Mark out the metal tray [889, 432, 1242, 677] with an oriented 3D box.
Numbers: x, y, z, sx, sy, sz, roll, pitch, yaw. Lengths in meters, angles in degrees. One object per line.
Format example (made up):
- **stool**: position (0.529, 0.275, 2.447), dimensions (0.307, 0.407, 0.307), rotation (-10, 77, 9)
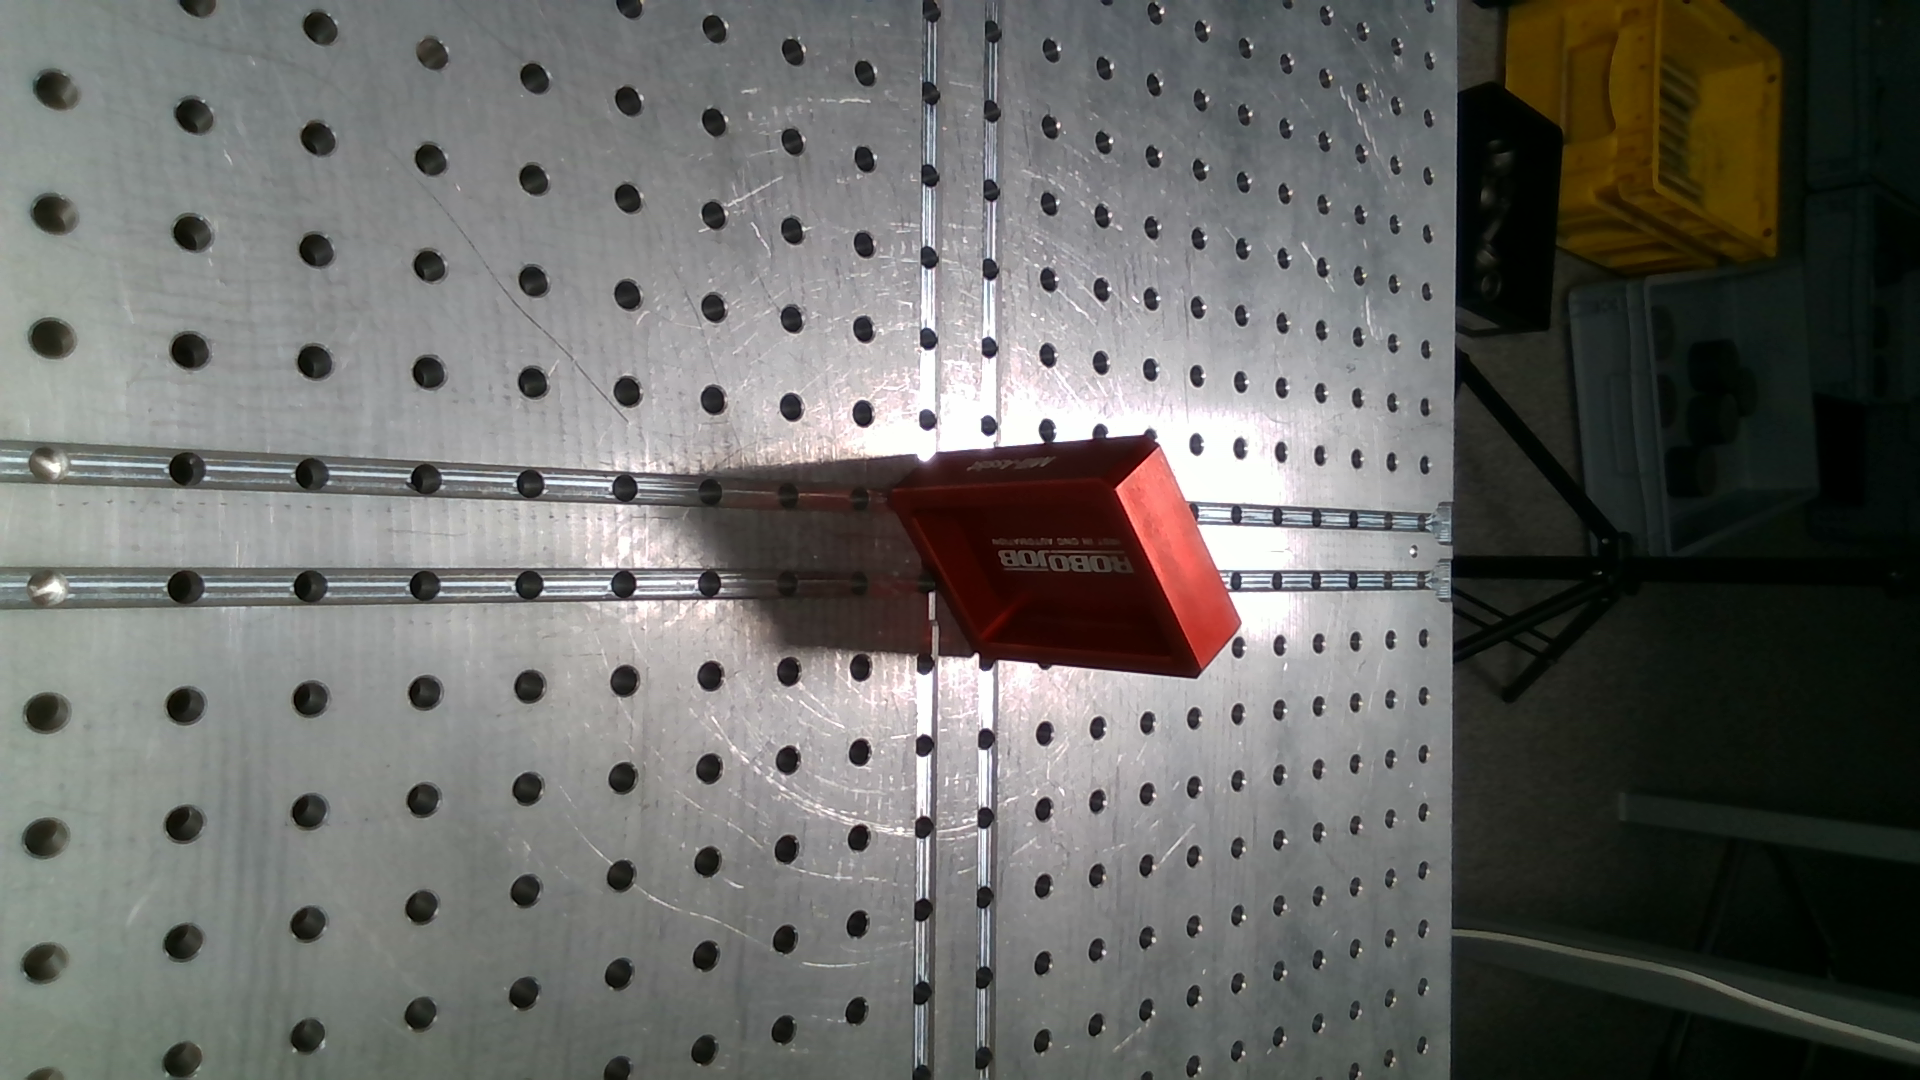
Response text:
- **metal tray**: position (0.039, 0.006, 0.550), dimensions (0.030, 0.130, 0.090), rotation (-43, 116, -32)
